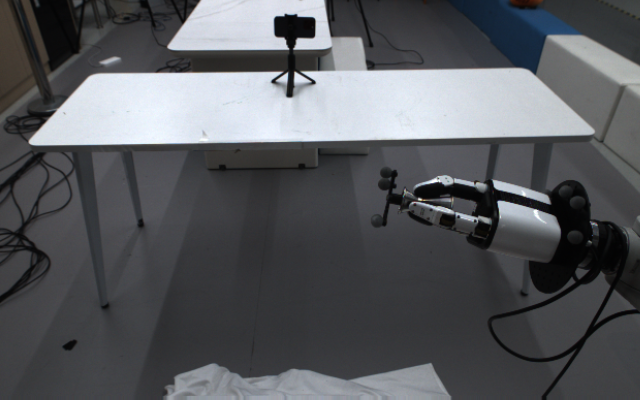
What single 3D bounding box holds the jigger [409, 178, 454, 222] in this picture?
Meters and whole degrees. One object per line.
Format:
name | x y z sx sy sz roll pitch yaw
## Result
jigger | 0.153 0.004 0.674 0.071 0.043 0.043 12 36 5
